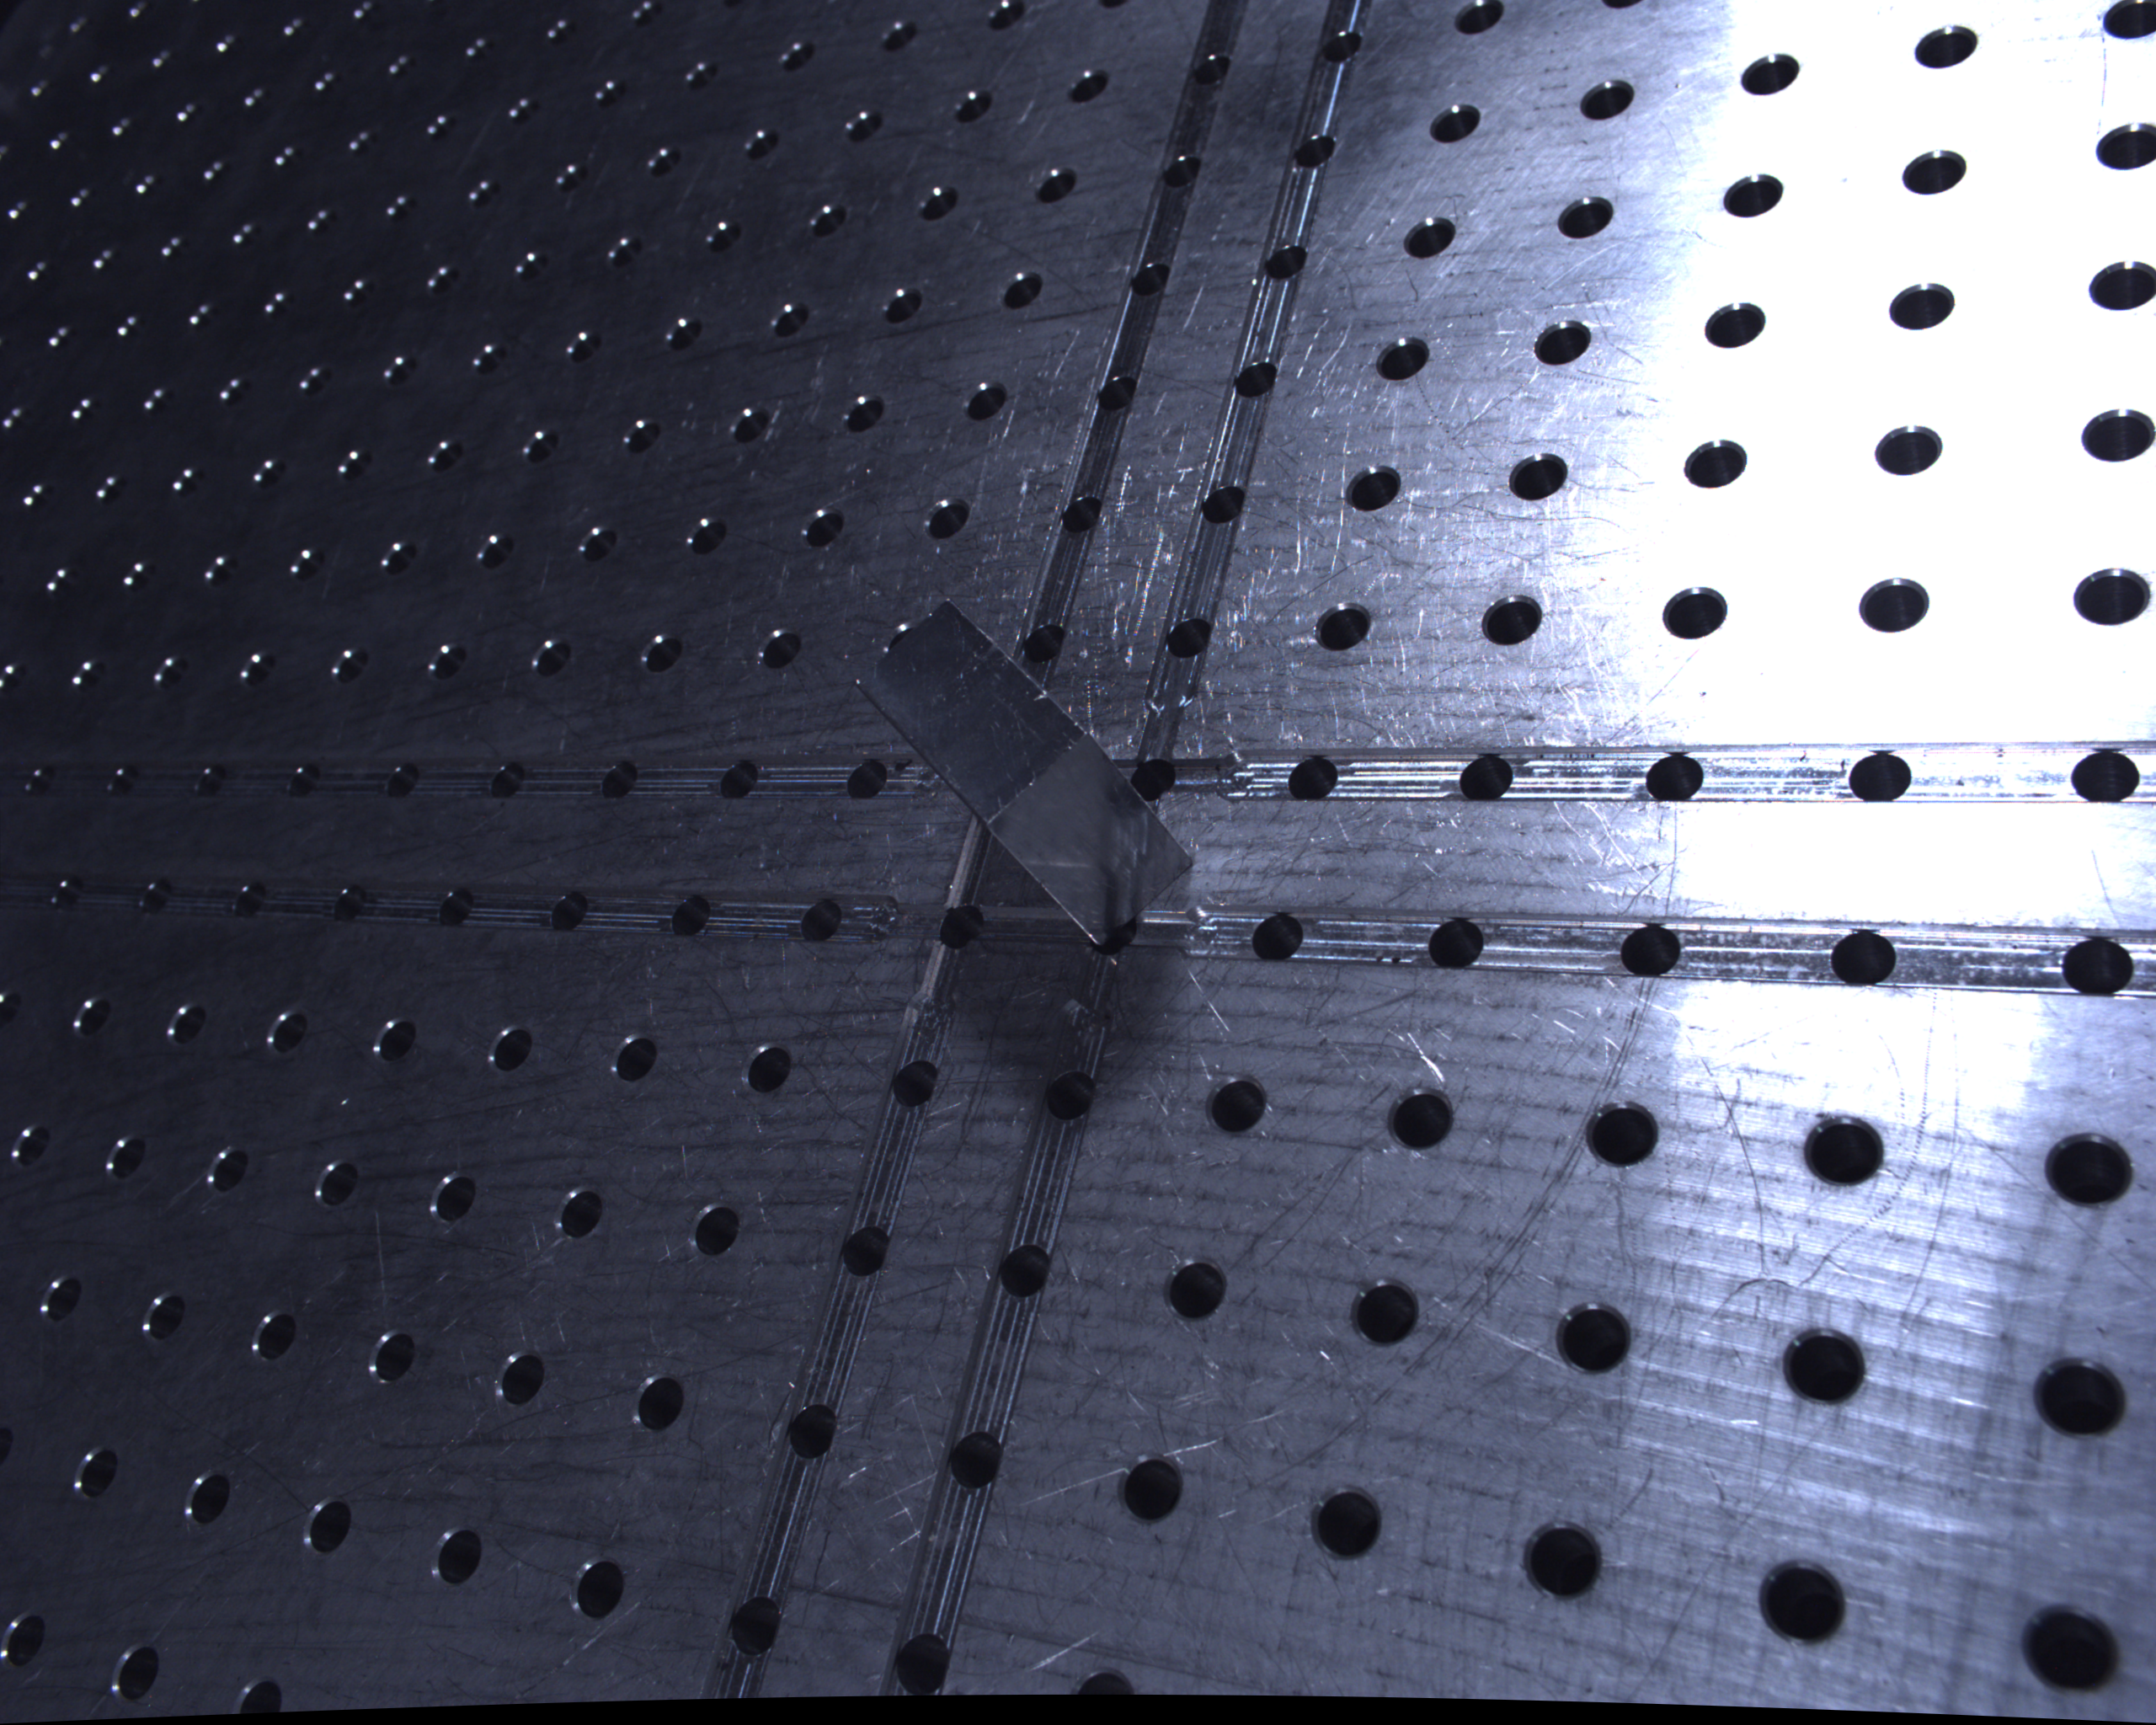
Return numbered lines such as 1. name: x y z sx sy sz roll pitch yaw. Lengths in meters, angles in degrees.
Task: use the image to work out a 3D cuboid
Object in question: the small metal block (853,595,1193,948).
1. small metal block: -0.010 -0.017 0.407 0.025 0.050 0.050 -43 51 -1
